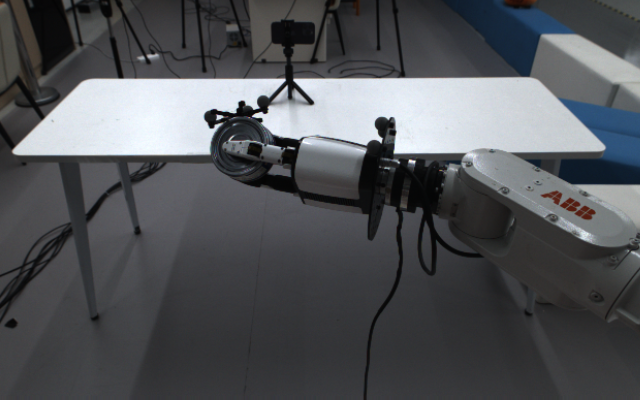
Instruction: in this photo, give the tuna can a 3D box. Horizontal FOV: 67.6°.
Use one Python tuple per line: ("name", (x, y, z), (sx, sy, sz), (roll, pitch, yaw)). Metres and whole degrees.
("tuna can", (-0.101, -0.064, 0.656), (0.085, 0.085, 0.034), (13, -6, 15))
